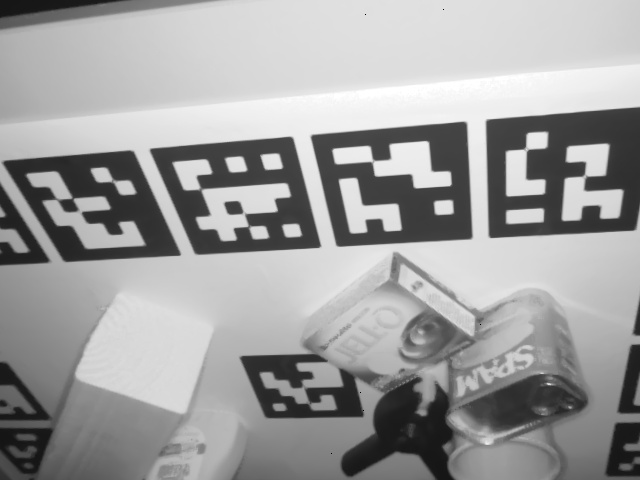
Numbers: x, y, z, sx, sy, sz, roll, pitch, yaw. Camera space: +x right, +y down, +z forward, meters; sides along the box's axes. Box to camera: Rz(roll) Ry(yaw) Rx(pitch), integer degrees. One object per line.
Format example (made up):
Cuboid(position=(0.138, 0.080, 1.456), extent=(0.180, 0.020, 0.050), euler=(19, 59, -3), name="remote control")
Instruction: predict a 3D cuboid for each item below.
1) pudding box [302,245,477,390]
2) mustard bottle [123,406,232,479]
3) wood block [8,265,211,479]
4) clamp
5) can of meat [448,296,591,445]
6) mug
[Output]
Cuboid(position=(0.056, 0.066, 0.565), extent=(0.112, 0.039, 0.090), euler=(-34, 117, 31), name="pudding box")
Cuboid(position=(-0.147, 0.244, 0.635), extent=(0.096, 0.193, 0.058), euler=(-3, 128, 10), name="mustard bottle")
Cuboid(position=(-0.190, 0.129, 0.618), extent=(0.090, 0.092, 0.203), euler=(29, 129, -18), name="wood block")
Cuboid(position=(0.075, 0.193, 0.674), extent=(0.122, 0.037, 0.163), euler=(16, 127, -4), name="clamp")
Cuboid(position=(0.152, 0.101, 0.546), extent=(0.100, 0.084, 0.058), euler=(-25, 120, 25), name="can of meat")
Cuboid(position=(0.153, 0.166, 0.636), extent=(0.093, 0.082, 0.115), euler=(18, 127, -7), name="mug")
